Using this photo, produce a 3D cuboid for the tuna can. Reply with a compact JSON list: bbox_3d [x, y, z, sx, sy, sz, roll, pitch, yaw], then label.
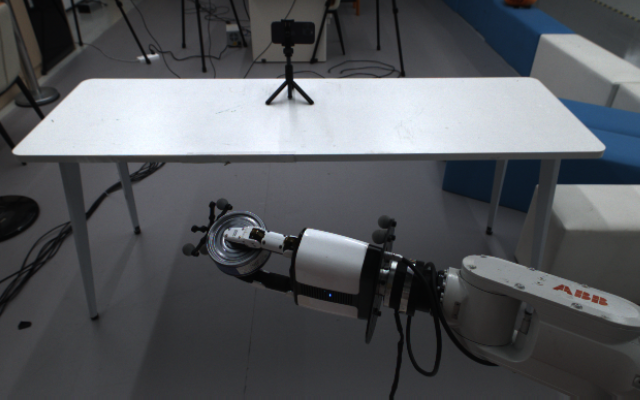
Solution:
[{"bbox_3d":[-0.105,0.063,0.653,0.085,0.034,0.085,-3,59,5],"label":"tuna can"}]
